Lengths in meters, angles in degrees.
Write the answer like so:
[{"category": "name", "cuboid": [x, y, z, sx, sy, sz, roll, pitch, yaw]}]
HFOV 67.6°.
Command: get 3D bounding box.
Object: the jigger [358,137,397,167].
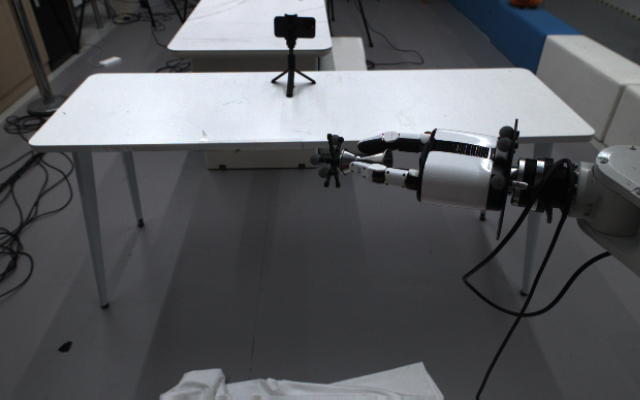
[{"category": "jigger", "cuboid": [0.074, -0.061, 0.702, 0.071, 0.043, 0.043, 3, 32, 26]}]
